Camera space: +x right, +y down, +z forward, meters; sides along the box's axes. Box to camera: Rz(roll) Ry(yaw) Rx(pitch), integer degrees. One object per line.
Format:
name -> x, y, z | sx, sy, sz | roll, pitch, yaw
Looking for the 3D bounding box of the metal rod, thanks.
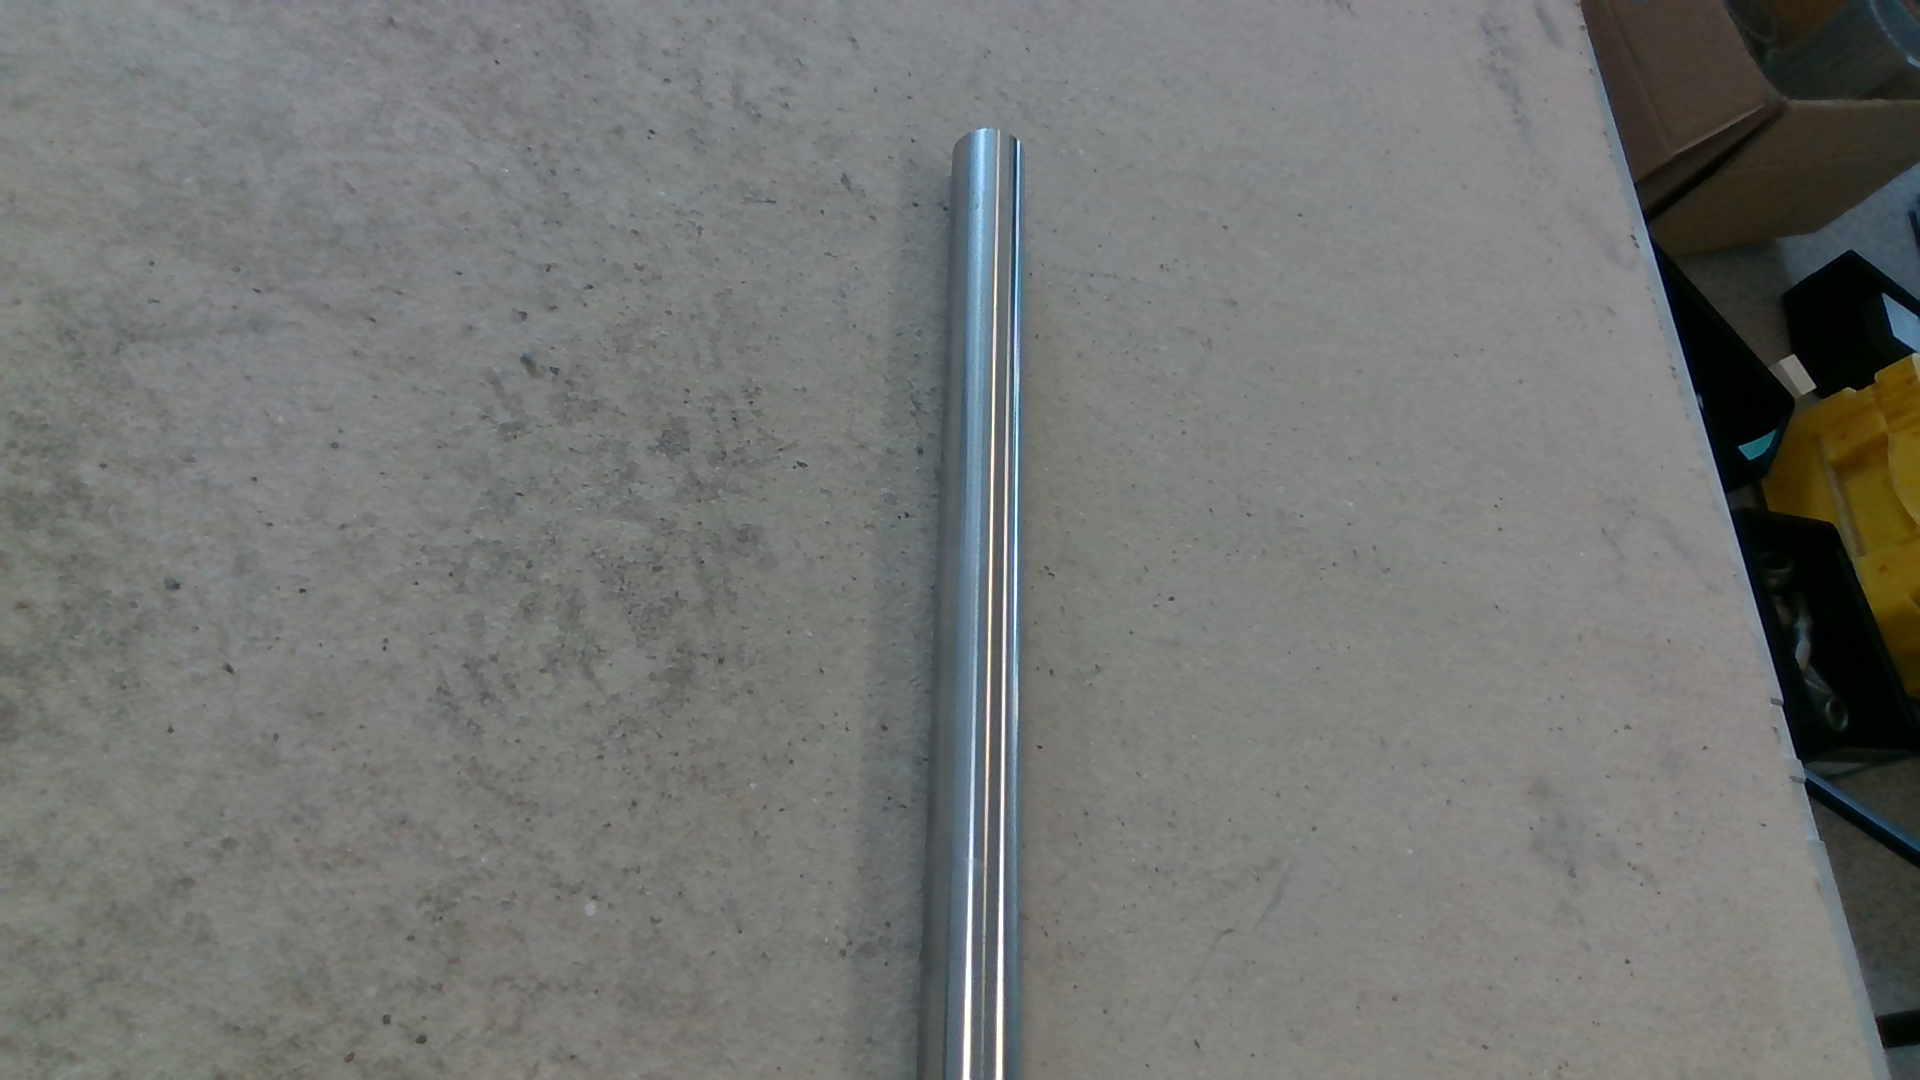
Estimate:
metal rod -> 0.006, -0.001, 0.397 | 0.025, 0.025, 0.299 | 16, 58, -24
